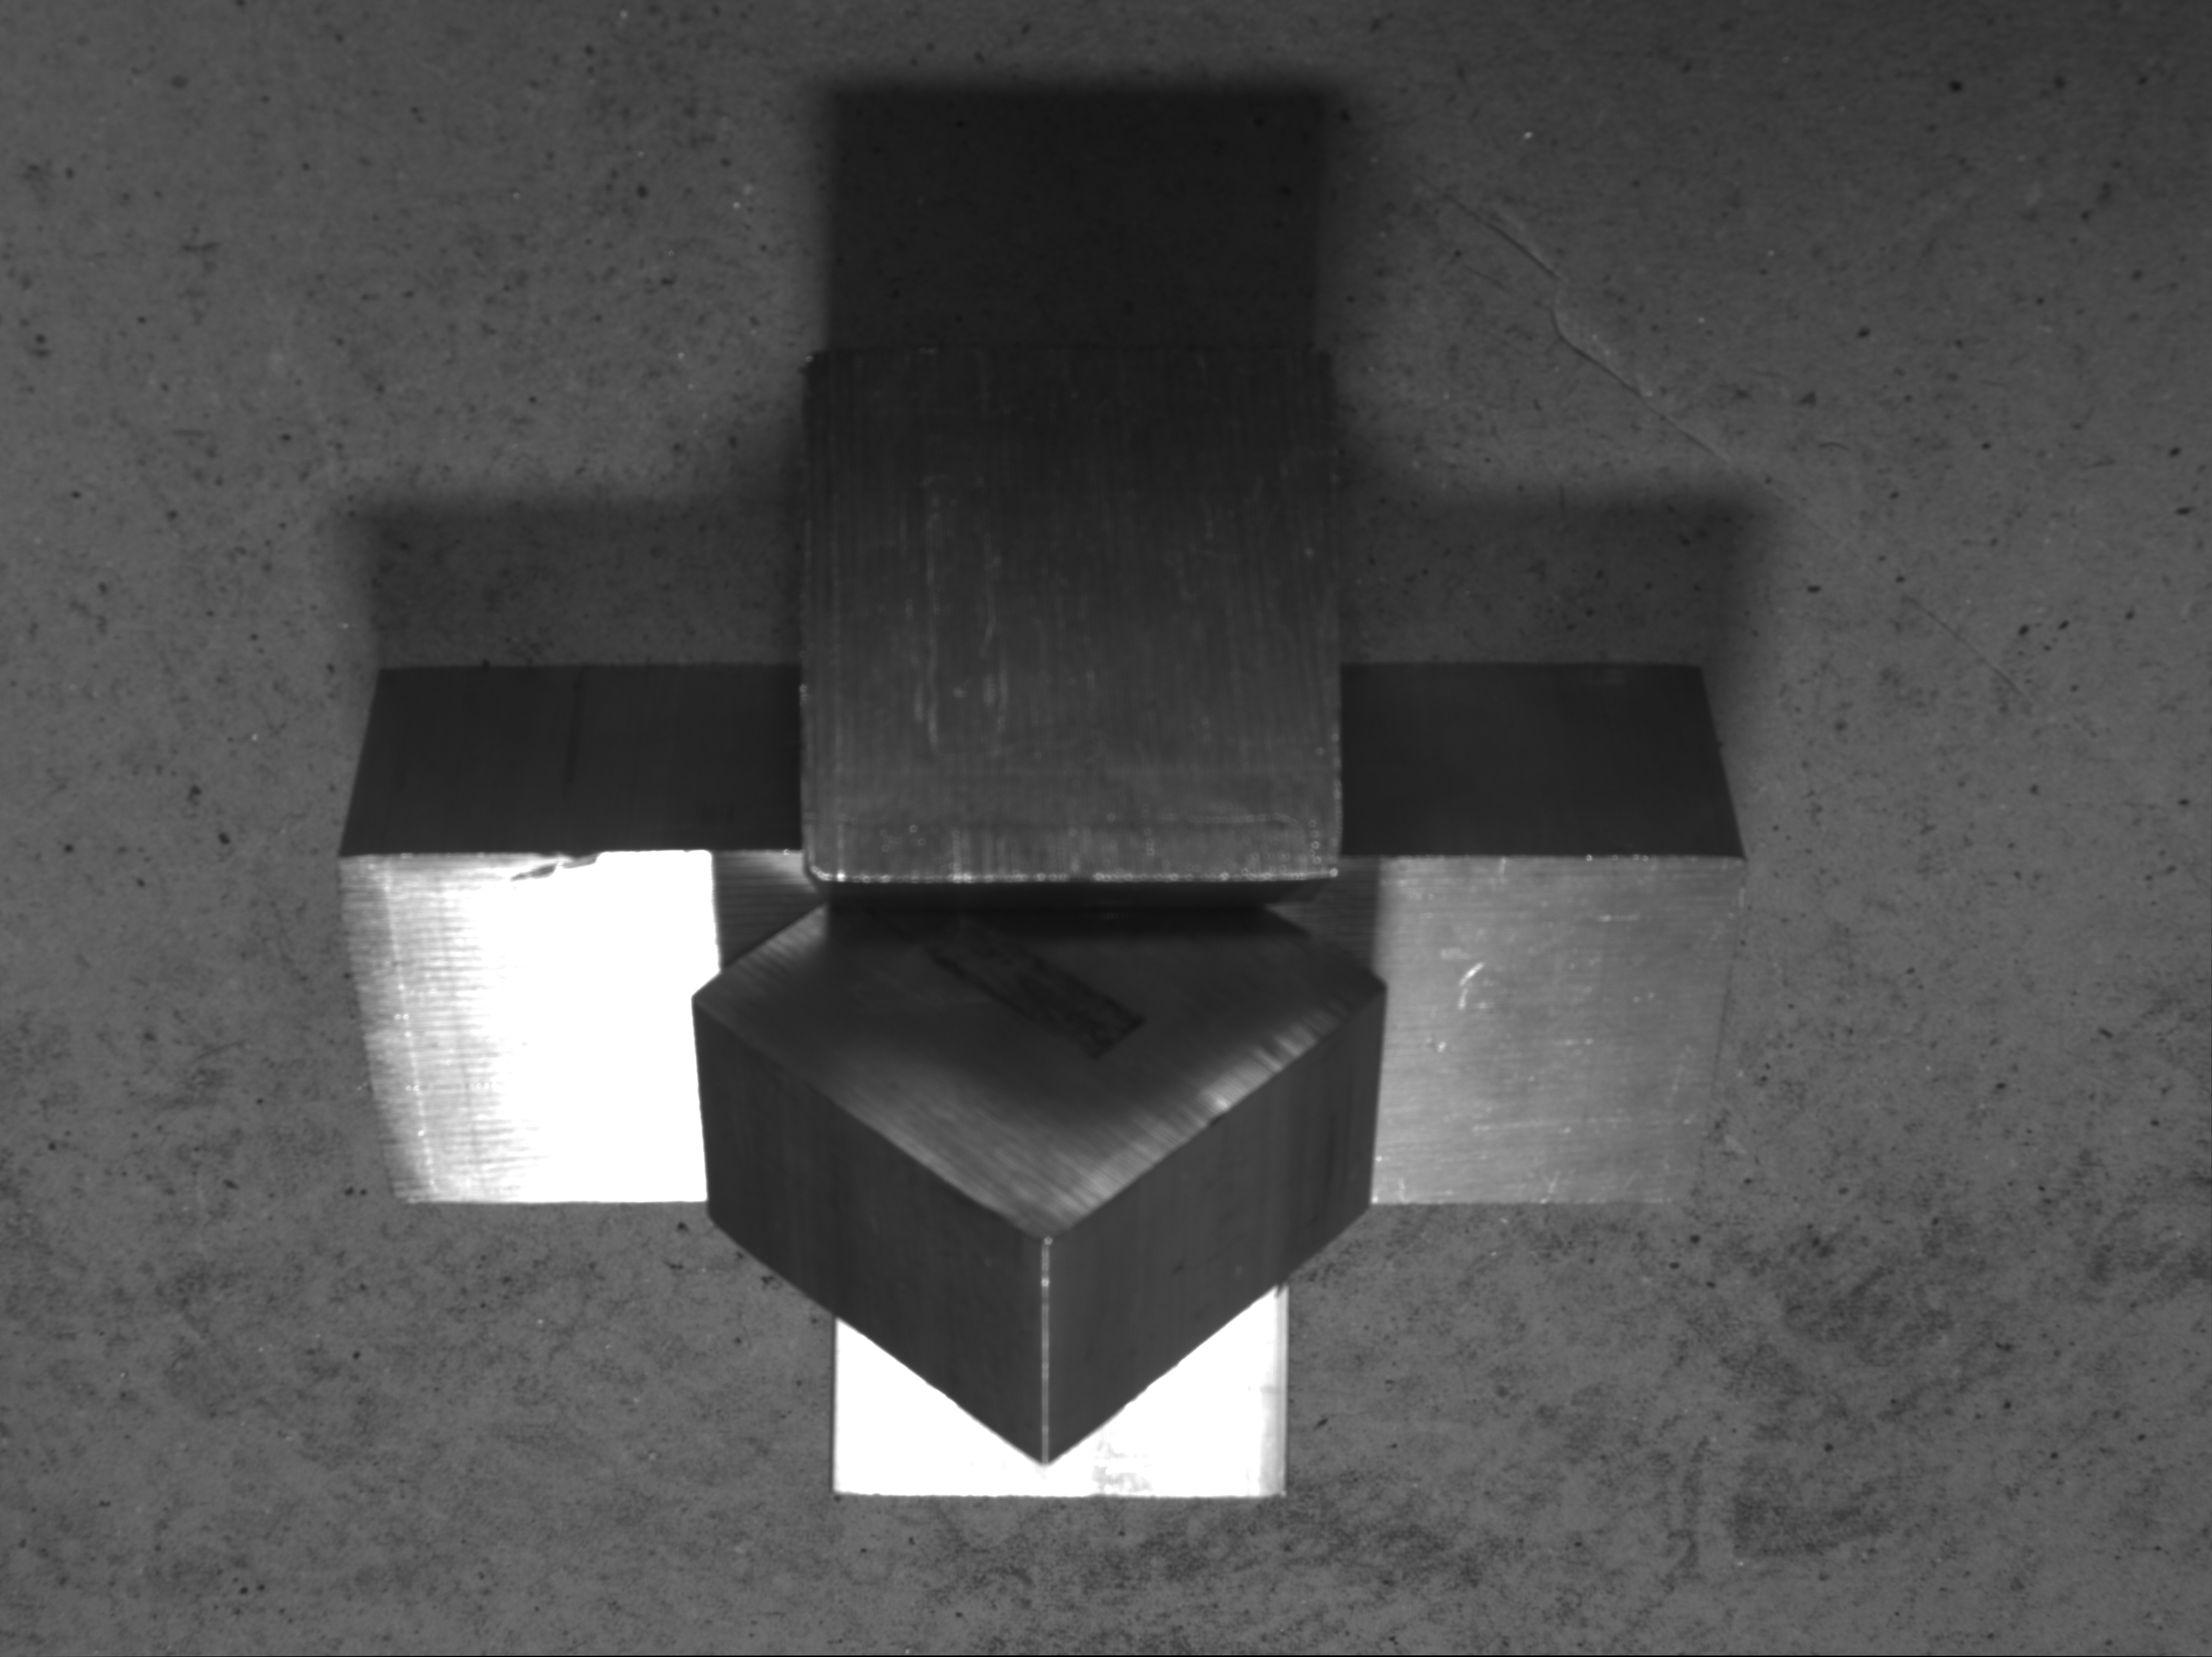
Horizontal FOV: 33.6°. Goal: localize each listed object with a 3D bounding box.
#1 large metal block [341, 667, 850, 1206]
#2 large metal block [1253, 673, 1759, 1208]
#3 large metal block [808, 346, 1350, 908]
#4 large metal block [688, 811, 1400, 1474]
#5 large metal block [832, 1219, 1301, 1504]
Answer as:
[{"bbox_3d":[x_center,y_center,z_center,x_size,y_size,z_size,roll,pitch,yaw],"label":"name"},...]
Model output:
[{"bbox_3d":[-0.084,0.019,0.635,0.080,0.050,0.080,0,130,-1],"label":"large metal block"},{"bbox_3d":[0.065,0.020,0.637,0.080,0.050,0.080,0,130,-2],"label":"large metal block"},{"bbox_3d":[-0.004,-0.030,0.570,0.080,0.080,0.050,0,174,-1],"label":"large metal block"},{"bbox_3d":[-0.010,0.045,0.597,0.080,0.080,0.050,31,139,31],"label":"large metal block"},{"bbox_3d":[-0.008,0.093,0.672,0.080,0.080,0.050,2,87,-2],"label":"large metal block"}]
